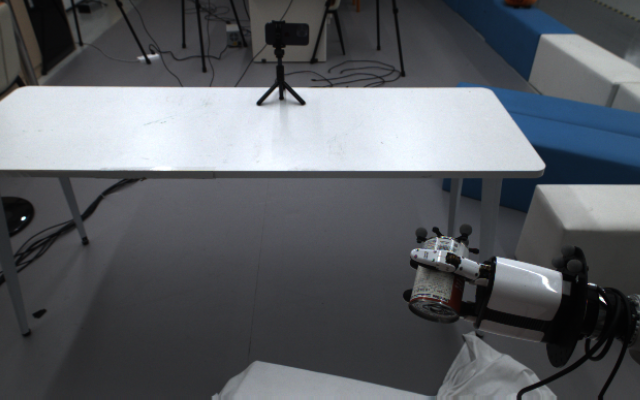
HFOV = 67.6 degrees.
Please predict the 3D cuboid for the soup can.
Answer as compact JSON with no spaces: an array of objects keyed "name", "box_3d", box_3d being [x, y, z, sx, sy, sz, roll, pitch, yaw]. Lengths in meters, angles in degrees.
[{"name":"soup can","box_3d":[0.167,0.106,0.671,0.067,0.067,0.101,12,59,14]}]
